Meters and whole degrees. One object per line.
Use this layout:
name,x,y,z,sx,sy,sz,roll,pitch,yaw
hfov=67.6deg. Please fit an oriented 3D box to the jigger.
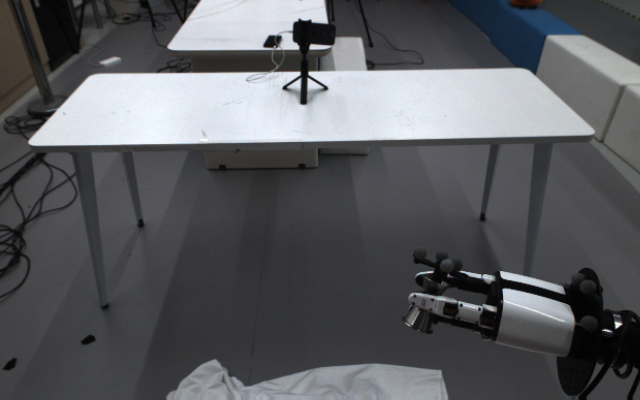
jigger,0.141,0.135,0.644,0.043,0.071,0.043,22,6,-2
